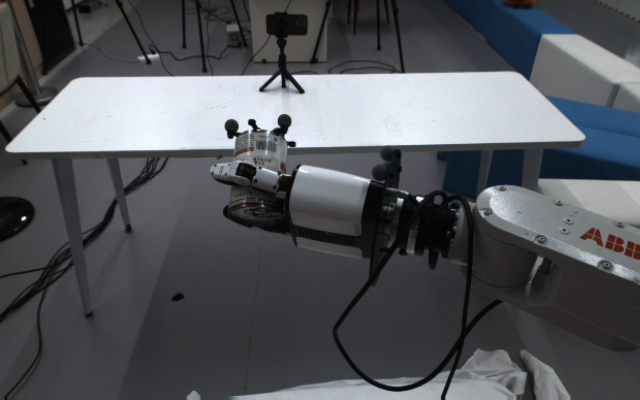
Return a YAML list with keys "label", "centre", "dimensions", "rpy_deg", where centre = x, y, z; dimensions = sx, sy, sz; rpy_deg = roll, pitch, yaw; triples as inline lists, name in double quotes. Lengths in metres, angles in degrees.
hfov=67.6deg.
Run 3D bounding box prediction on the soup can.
- label: "soup can"
  centre: [-0.073, -0.026, 0.589]
  dimensions: [0.067, 0.067, 0.101]
  rpy_deg: [1, 68, -1]
